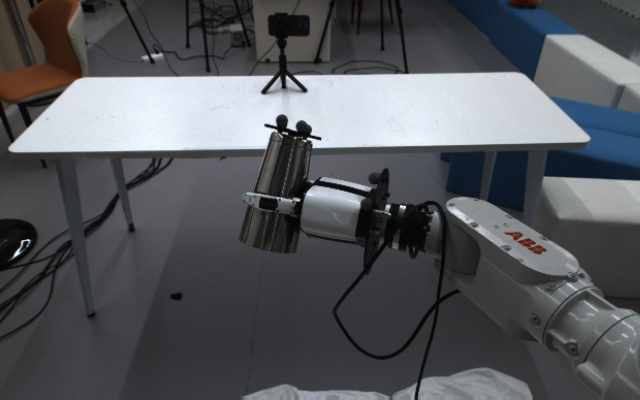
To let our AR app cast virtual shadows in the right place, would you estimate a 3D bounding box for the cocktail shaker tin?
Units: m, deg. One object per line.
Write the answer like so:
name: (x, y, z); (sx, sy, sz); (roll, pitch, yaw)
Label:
cocktail shaker tin: (-0.062, -0.013, 0.743); (0.093, 0.170, 0.093); (13, 5, -1)
